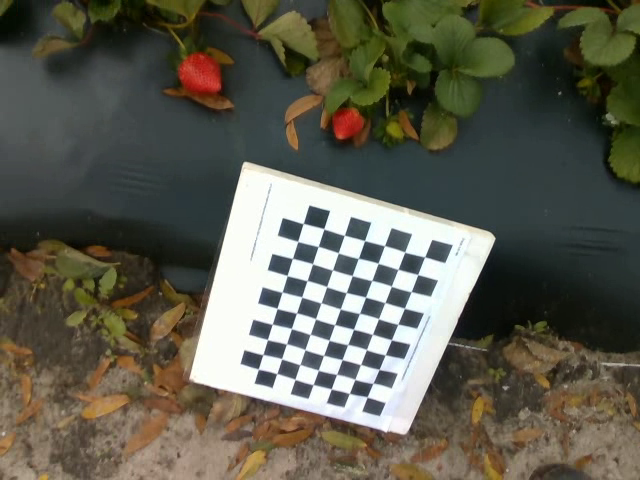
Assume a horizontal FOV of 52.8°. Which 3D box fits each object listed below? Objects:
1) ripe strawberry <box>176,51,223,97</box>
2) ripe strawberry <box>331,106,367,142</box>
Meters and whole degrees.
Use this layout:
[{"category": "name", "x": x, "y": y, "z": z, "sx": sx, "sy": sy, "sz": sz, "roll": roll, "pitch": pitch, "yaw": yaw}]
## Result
[{"category": "ripe strawberry", "x": -0.113, "y": -0.170, "z": 0.640, "sx": 0.042, "sy": 0.047, "sz": 0.065, "roll": -3, "pitch": 39, "yaw": -41}, {"category": "ripe strawberry", "x": 0.033, "y": -0.123, "z": 0.659, "sx": 0.040, "sy": 0.042, "sz": 0.037, "roll": 25, "pitch": -23, "yaw": -11}]
